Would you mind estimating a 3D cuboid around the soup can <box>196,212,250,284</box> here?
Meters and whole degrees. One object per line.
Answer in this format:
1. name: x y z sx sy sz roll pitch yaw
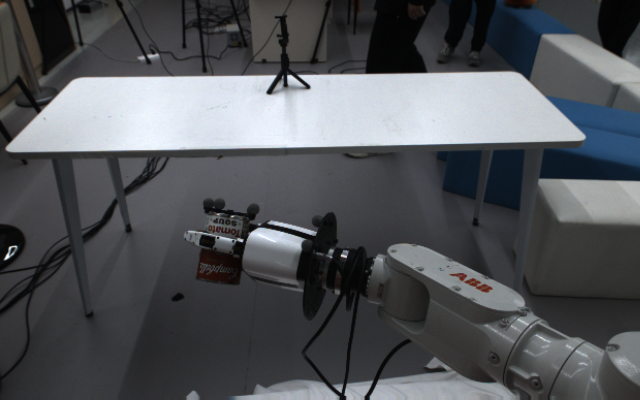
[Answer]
1. soup can: -0.147 0.075 0.737 0.067 0.101 0.067 8 -6 1
